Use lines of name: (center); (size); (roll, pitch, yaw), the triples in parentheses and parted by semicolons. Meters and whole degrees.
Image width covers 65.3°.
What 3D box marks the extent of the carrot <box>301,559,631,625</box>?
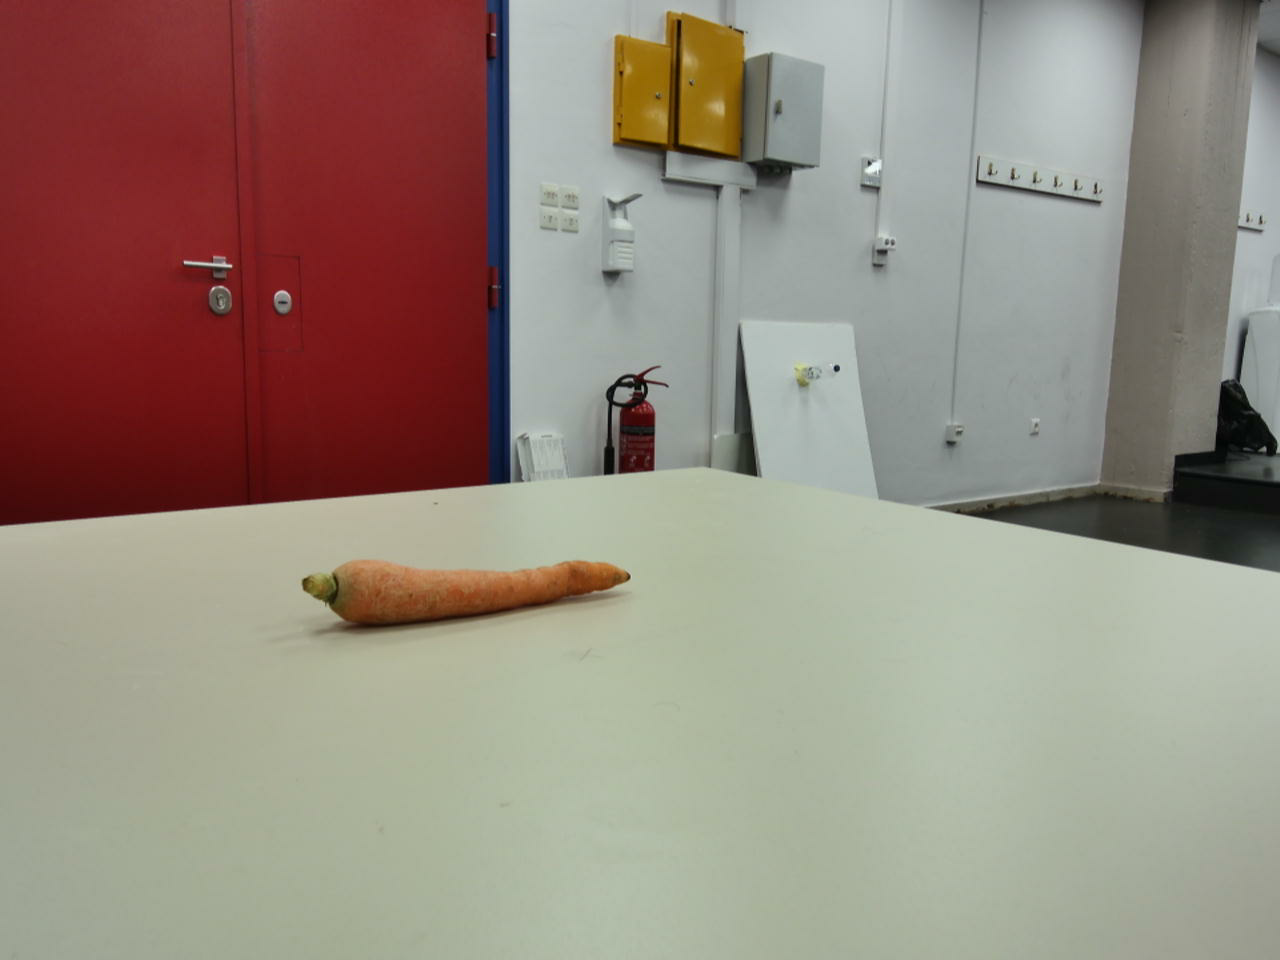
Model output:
carrot: (-0.081, 0.051, 0.501); (0.173, 0.032, 0.030); (-3, 7, -28)
